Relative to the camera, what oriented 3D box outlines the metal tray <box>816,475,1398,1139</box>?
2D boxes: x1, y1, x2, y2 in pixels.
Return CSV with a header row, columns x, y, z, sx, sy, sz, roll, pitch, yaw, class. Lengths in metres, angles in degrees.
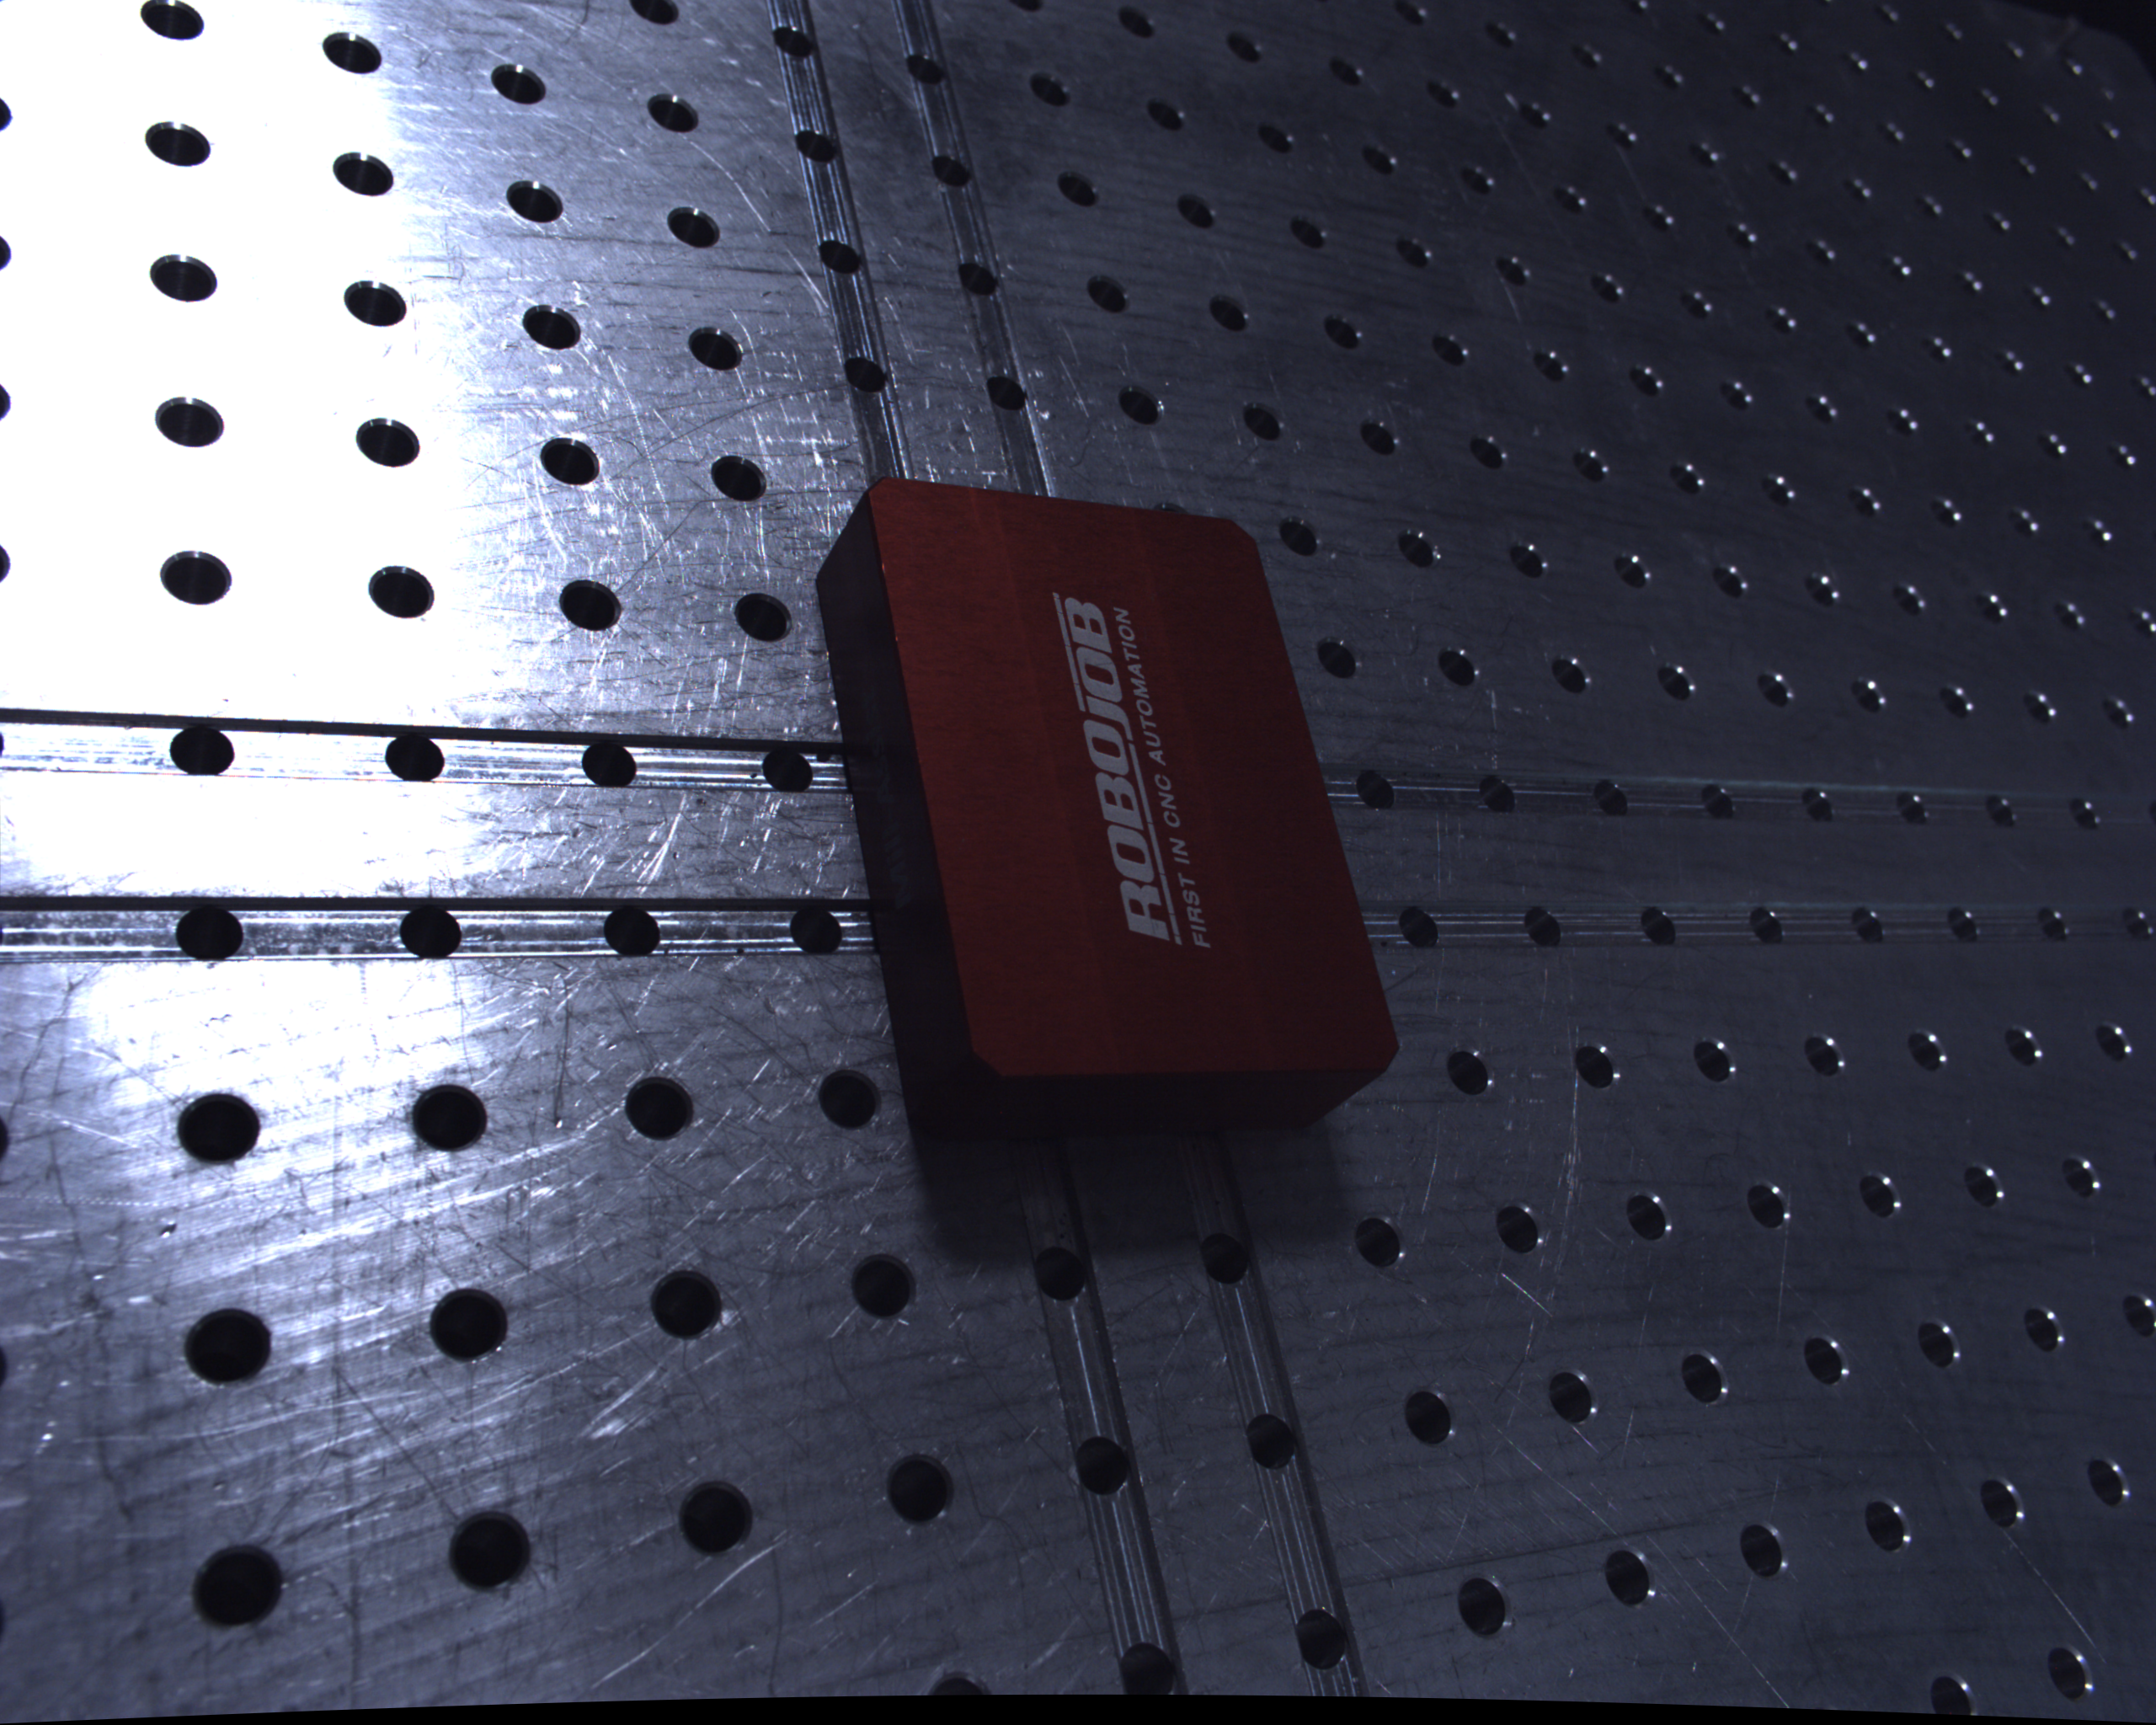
x,y,z,sx,sy,sz,roll,pitch,yaw,class
0.004,-0.012,0.415,0.091,0.030,0.130,2,61,-28,metal tray
